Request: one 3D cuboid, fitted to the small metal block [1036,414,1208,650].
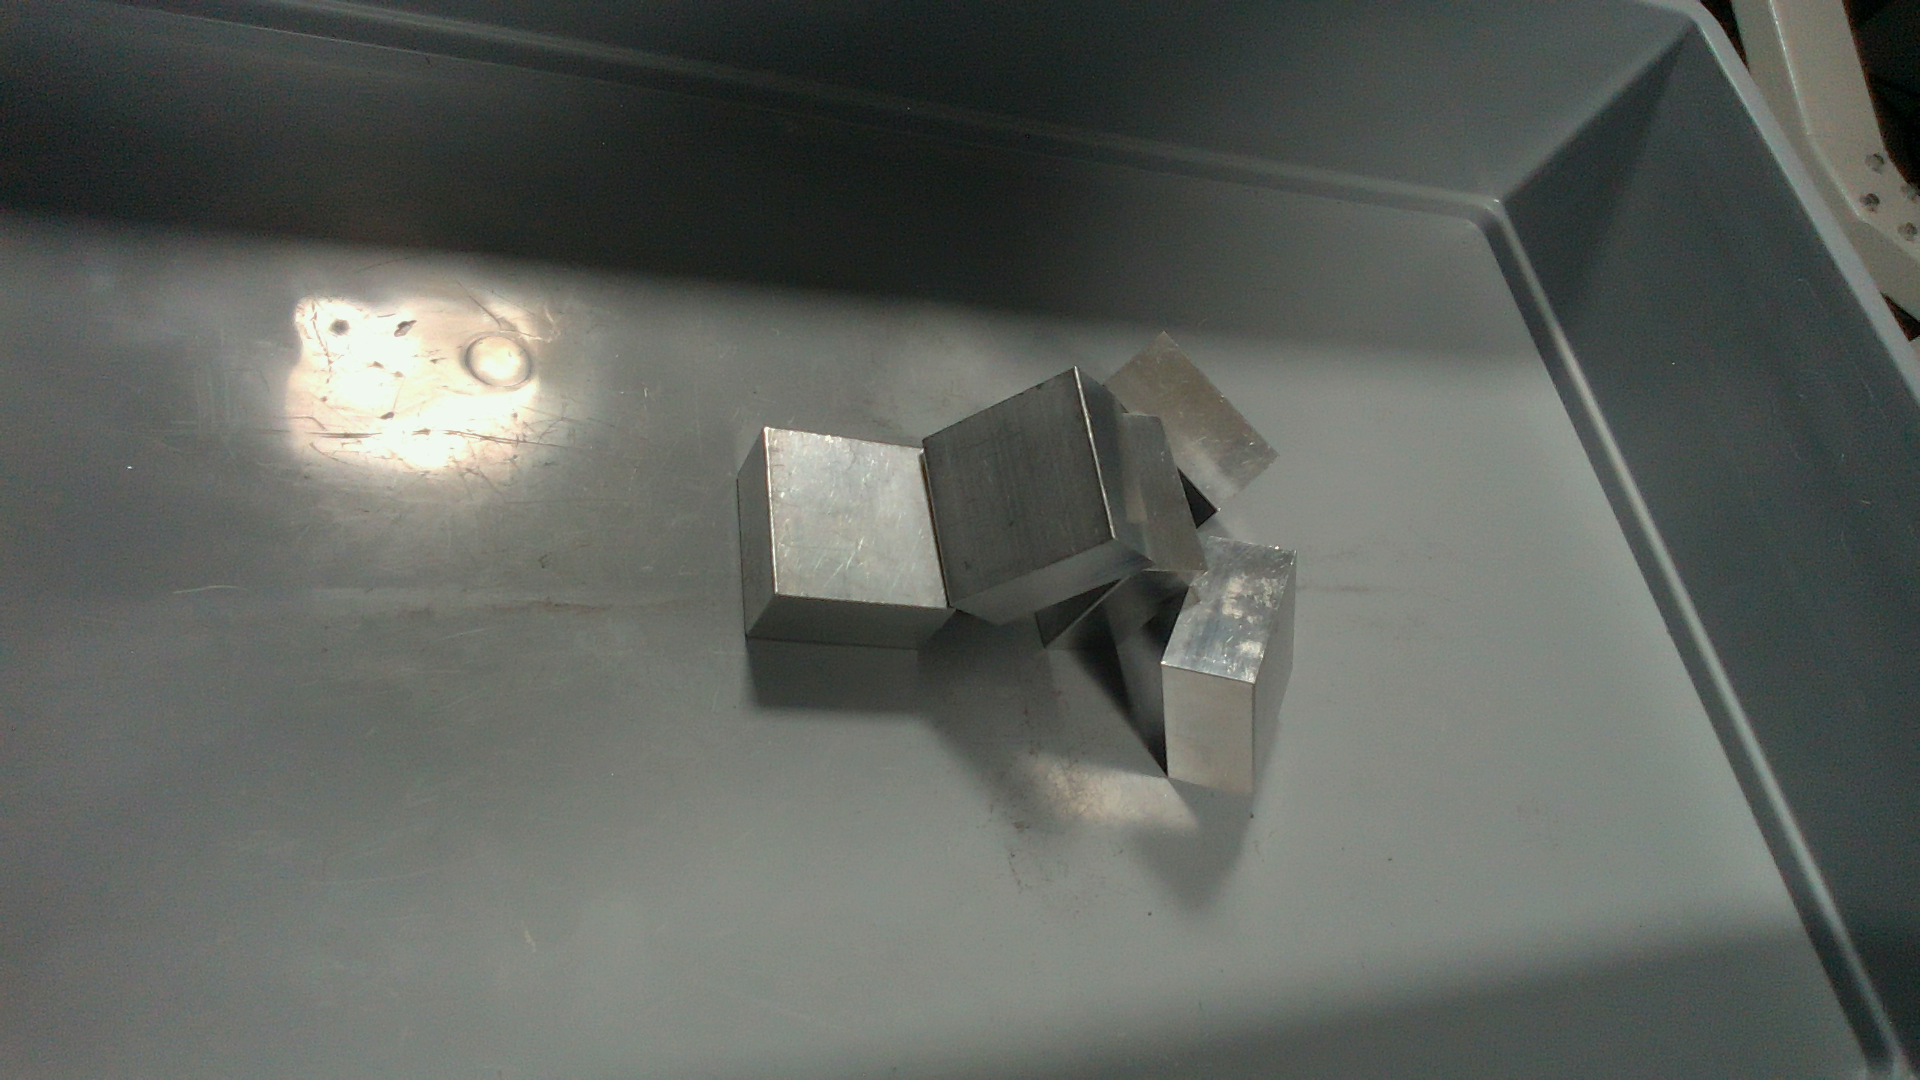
[{"bbox_3d":[0.040,-0.002,0.395,0.025,0.050,0.050,1,61,-28],"label":"small metal block"}]

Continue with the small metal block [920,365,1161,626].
[{"bbox_3d":[0.021,-0.011,0.366,0.025,0.050,0.050,26,48,-53],"label":"small metal block"}]

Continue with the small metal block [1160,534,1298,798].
[{"bbox_3d":[0.077,0.035,0.388,0.025,0.050,0.050,10,48,21],"label":"small metal block"}]

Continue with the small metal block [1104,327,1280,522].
[{"bbox_3d":[0.066,-0.032,0.424,0.025,0.050,0.050,-41,84,-6],"label":"small metal block"}]

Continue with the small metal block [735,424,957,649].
[{"bbox_3d":[-0.032,0.000,0.370,0.050,0.025,0.050,6,59,-25],"label":"small metal block"}]
